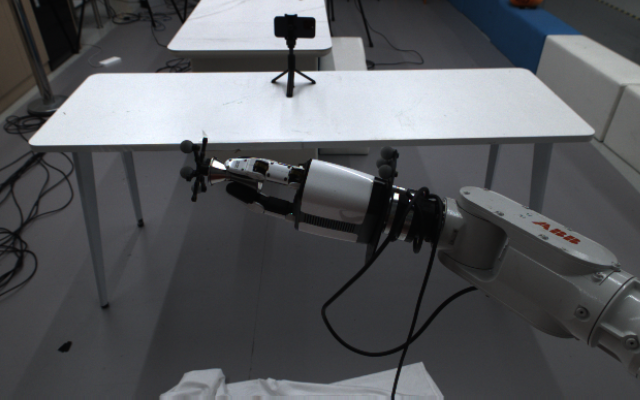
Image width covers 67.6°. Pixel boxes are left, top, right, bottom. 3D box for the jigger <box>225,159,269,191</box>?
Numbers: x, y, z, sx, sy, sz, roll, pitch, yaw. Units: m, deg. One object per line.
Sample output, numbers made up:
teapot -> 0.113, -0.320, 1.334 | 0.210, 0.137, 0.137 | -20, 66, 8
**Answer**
jigger -> -0.104, -0.039, 0.653 | 0.071, 0.043, 0.043 | 7, 35, 2
